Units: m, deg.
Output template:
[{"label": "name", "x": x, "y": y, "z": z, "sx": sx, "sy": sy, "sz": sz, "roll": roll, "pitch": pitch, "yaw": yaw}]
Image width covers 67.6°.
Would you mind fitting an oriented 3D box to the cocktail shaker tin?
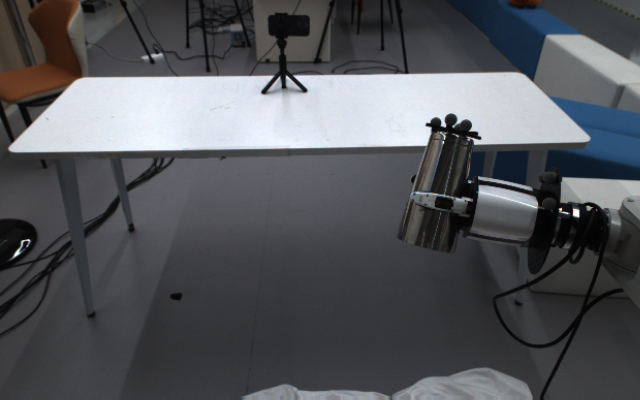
[{"label": "cocktail shaker tin", "x": 0.183, "y": -0.015, "z": 0.741, "sx": 0.093, "sy": 0.170, "sz": 0.093, "roll": 13, "pitch": 4, "yaw": -1}]
